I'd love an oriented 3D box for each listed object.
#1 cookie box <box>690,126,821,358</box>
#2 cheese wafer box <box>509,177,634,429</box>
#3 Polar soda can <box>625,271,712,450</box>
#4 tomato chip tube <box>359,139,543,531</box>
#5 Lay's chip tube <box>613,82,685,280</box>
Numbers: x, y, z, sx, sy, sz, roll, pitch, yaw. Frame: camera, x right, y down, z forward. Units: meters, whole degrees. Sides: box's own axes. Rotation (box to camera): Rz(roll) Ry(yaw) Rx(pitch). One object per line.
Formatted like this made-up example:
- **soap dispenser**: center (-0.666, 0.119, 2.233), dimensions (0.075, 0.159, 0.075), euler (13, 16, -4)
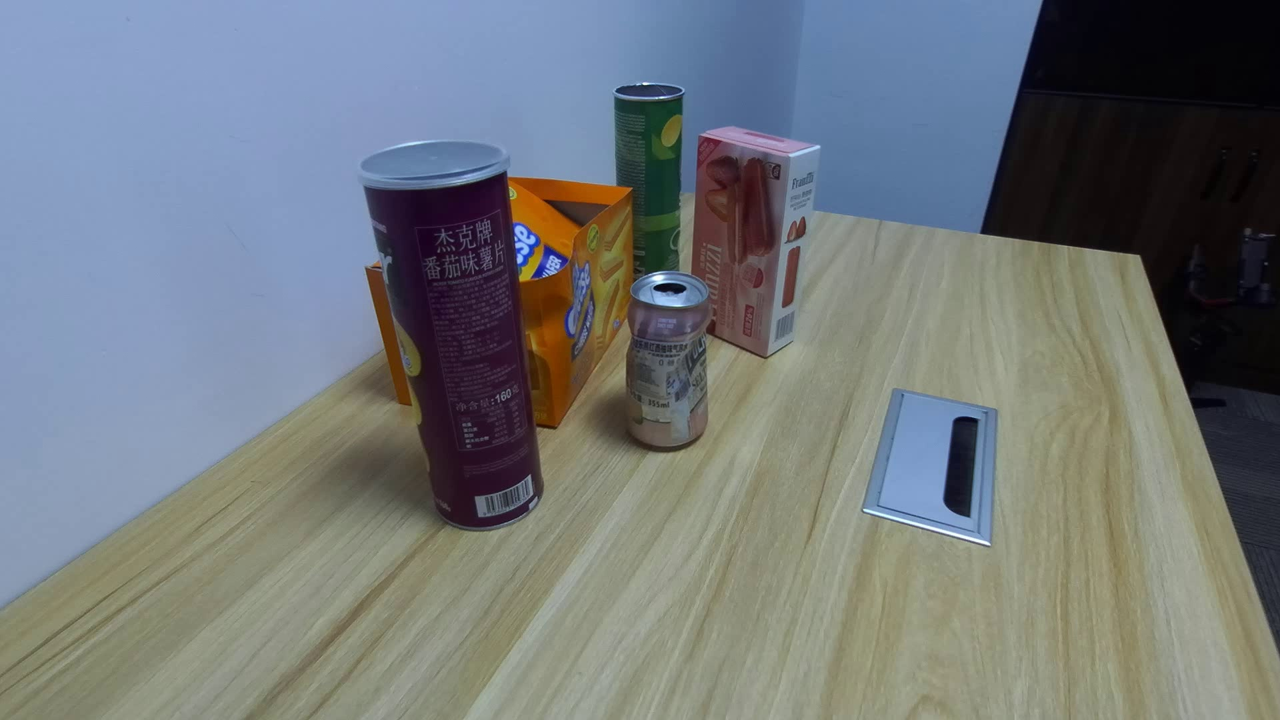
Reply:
- **cookie box**: center (0.096, -0.103, 0.630), dimensions (0.095, 0.185, 0.048), euler (25, 38, 34)
- **cheese wafer box**: center (-0.103, -0.059, 0.619), dimensions (0.152, 0.132, 0.230), euler (9, 32, 12)
- **Polar soda can**: center (0.022, 0.001, 0.524), dimensions (0.074, 0.122, 0.067), euler (-18, 35, -24)
- **tomato chip tube**: center (-0.107, -0.006, 0.433), dimensions (0.078, 0.234, 0.078), euler (0, 32, 1)
- **Lay's chip tube**: center (0.010, -0.175, 0.731), dimensions (0.071, 0.203, 0.071), euler (0, 33, 0)
